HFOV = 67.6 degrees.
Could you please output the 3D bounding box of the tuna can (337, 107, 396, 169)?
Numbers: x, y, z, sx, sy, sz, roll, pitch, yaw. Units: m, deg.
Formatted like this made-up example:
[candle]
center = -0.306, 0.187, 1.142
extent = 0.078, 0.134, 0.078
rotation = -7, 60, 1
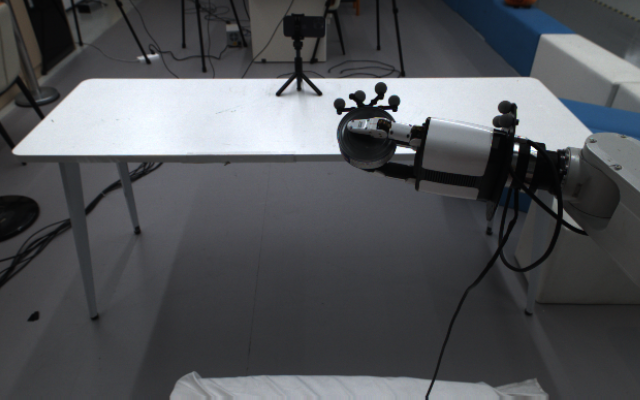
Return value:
[tuna can]
center = 0.068, -0.089, 0.691
extent = 0.085, 0.034, 0.085
rotation = -2, 69, 6
